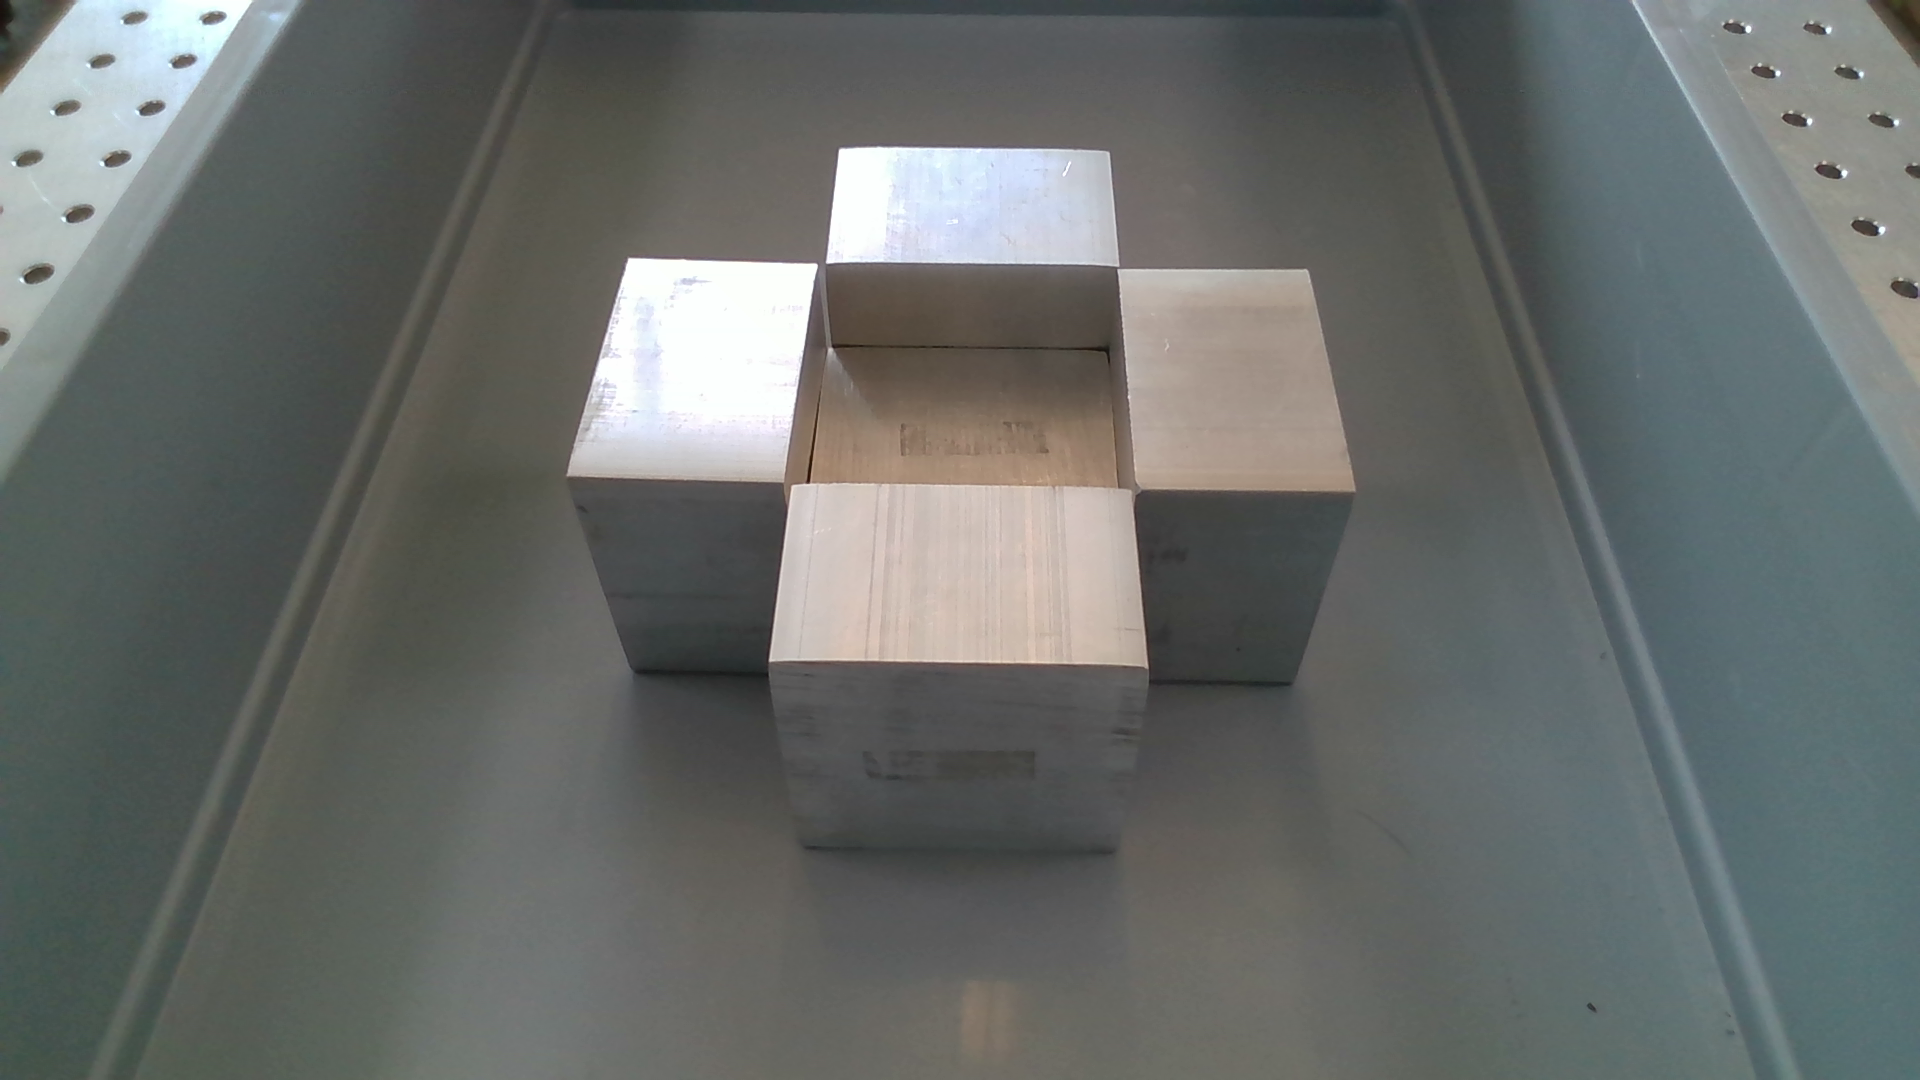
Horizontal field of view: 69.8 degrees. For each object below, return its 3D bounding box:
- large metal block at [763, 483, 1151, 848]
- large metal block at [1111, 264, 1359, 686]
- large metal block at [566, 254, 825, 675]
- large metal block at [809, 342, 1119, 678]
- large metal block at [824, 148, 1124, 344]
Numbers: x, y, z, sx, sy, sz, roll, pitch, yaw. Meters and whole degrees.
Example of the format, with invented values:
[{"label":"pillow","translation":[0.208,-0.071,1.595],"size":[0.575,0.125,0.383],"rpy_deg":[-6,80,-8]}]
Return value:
[{"label":"large metal block","translation":[0.000,0.032,0.331],"size":[0.080,0.080,0.050],"rpy_deg":[0,50,0]},{"label":"large metal block","translation":[0.067,-0.017,0.370],"size":[0.050,0.080,0.080],"rpy_deg":[0,50,0]},{"label":"large metal block","translation":[-0.065,-0.019,0.373],"size":[0.050,0.080,0.080],"rpy_deg":[1,50,1]},{"label":"large metal block","translation":[0.001,-0.009,0.382],"size":[0.080,0.050,0.080],"rpy_deg":[0,50,0]},{"label":"large metal block","translation":[0.004,-0.069,0.415],"size":[0.080,0.080,0.050],"rpy_deg":[0,50,0]}]
